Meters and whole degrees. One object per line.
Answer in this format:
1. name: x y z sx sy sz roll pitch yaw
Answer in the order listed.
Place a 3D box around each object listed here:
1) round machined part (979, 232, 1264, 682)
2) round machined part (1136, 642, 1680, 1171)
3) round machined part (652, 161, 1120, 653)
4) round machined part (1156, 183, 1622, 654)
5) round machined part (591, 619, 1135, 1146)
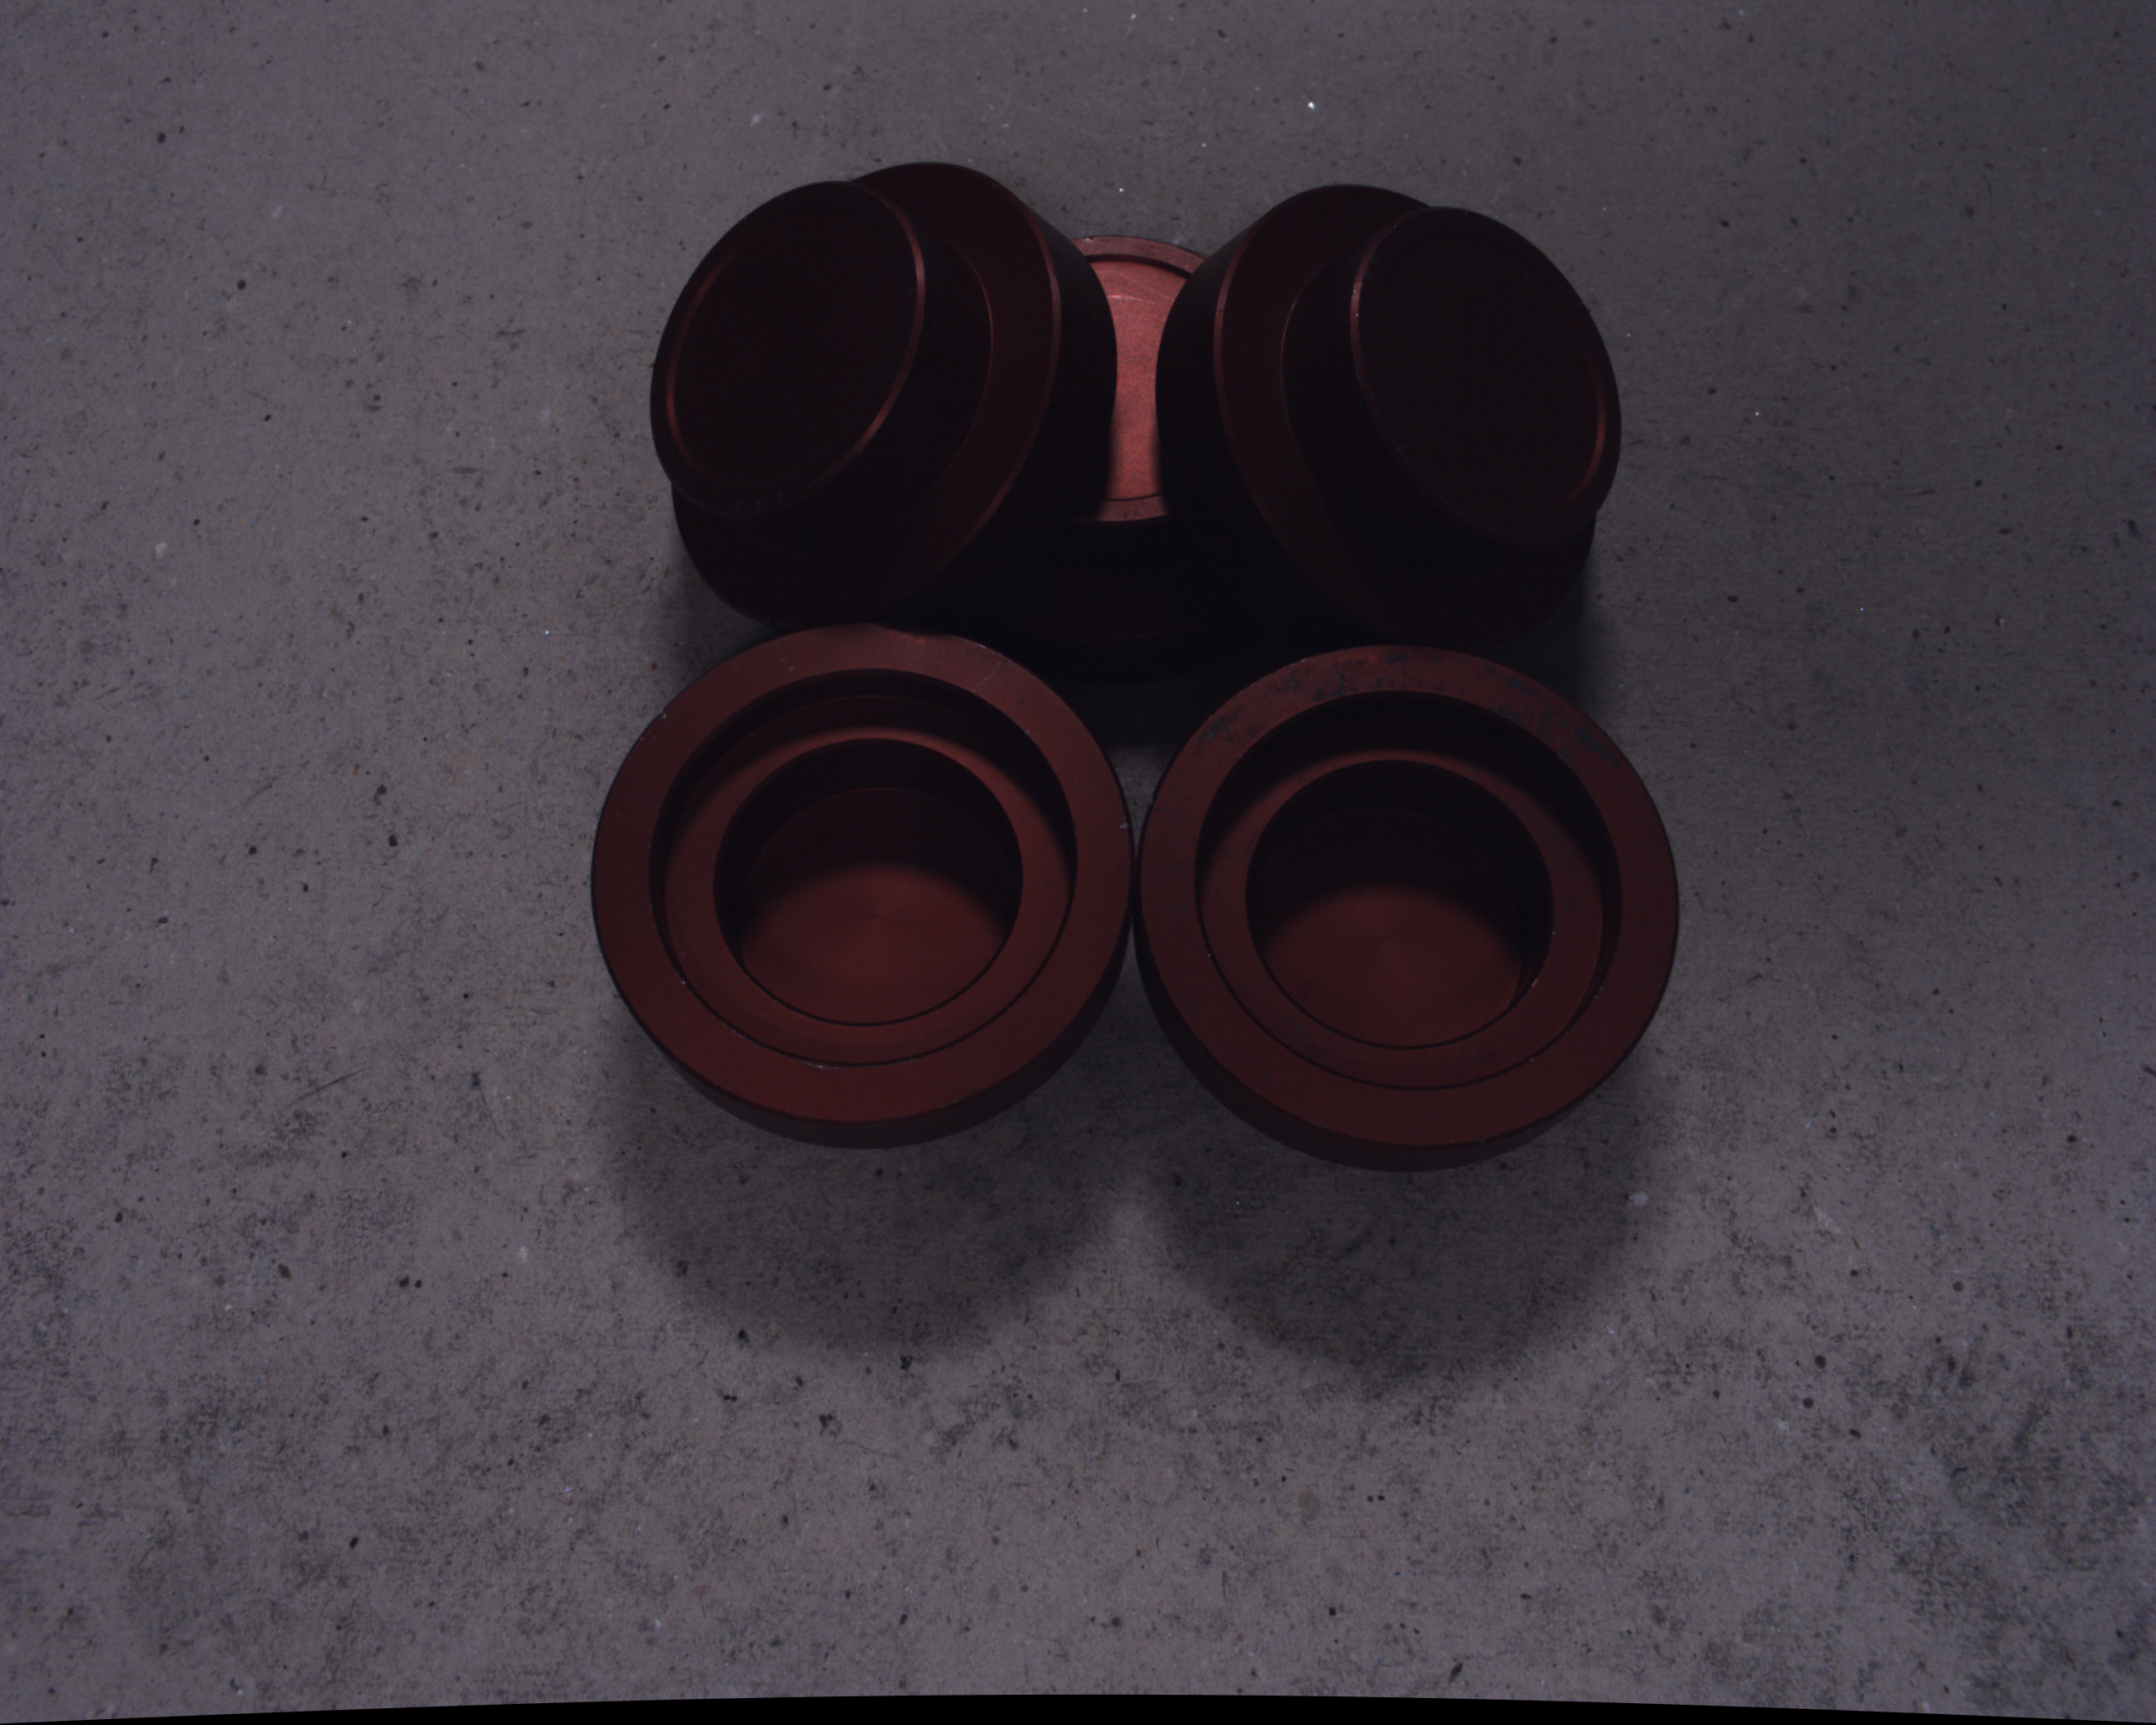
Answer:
1. round machined part: 0.007 -0.090 0.433 0.099 0.042 0.098 0 70 -1
2. round machined part: 0.060 0.011 0.397 0.099 0.042 0.098 0 70 -1
3. round machined part: -0.044 -0.093 0.408 0.098 0.042 0.098 -10 71 31
4. round machined part: 0.068 -0.088 0.410 0.099 0.042 0.098 8 74 -30
5. round machined part: -0.039 0.006 0.397 0.099 0.042 0.098 0 70 -1
